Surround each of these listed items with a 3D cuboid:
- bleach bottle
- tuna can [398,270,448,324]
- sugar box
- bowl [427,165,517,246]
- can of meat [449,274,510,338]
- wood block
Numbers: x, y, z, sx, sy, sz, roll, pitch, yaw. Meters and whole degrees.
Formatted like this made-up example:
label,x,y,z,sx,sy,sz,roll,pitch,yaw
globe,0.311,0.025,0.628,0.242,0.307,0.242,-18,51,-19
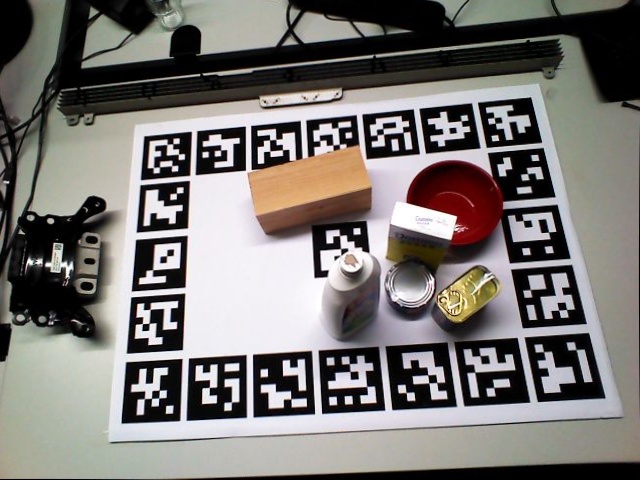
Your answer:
label,x,y,z,sx,sy,sz,roll,pitch,yaw
bleach bottle,0.064,0.087,0.760,0.102,0.251,0.068,-29,67,-5
tuna can,0.172,0.095,0.857,0.086,0.034,0.085,-2,72,6
sugar box,0.185,0.010,0.813,0.093,0.176,0.045,14,72,15
bowl,0.266,-0.049,0.895,0.162,0.055,0.161,-4,68,9
can of meat,0.257,0.105,0.824,0.102,0.084,0.058,-33,66,-9
wood block,0.005,-0.074,0.919,0.207,0.090,0.090,-13,72,0
